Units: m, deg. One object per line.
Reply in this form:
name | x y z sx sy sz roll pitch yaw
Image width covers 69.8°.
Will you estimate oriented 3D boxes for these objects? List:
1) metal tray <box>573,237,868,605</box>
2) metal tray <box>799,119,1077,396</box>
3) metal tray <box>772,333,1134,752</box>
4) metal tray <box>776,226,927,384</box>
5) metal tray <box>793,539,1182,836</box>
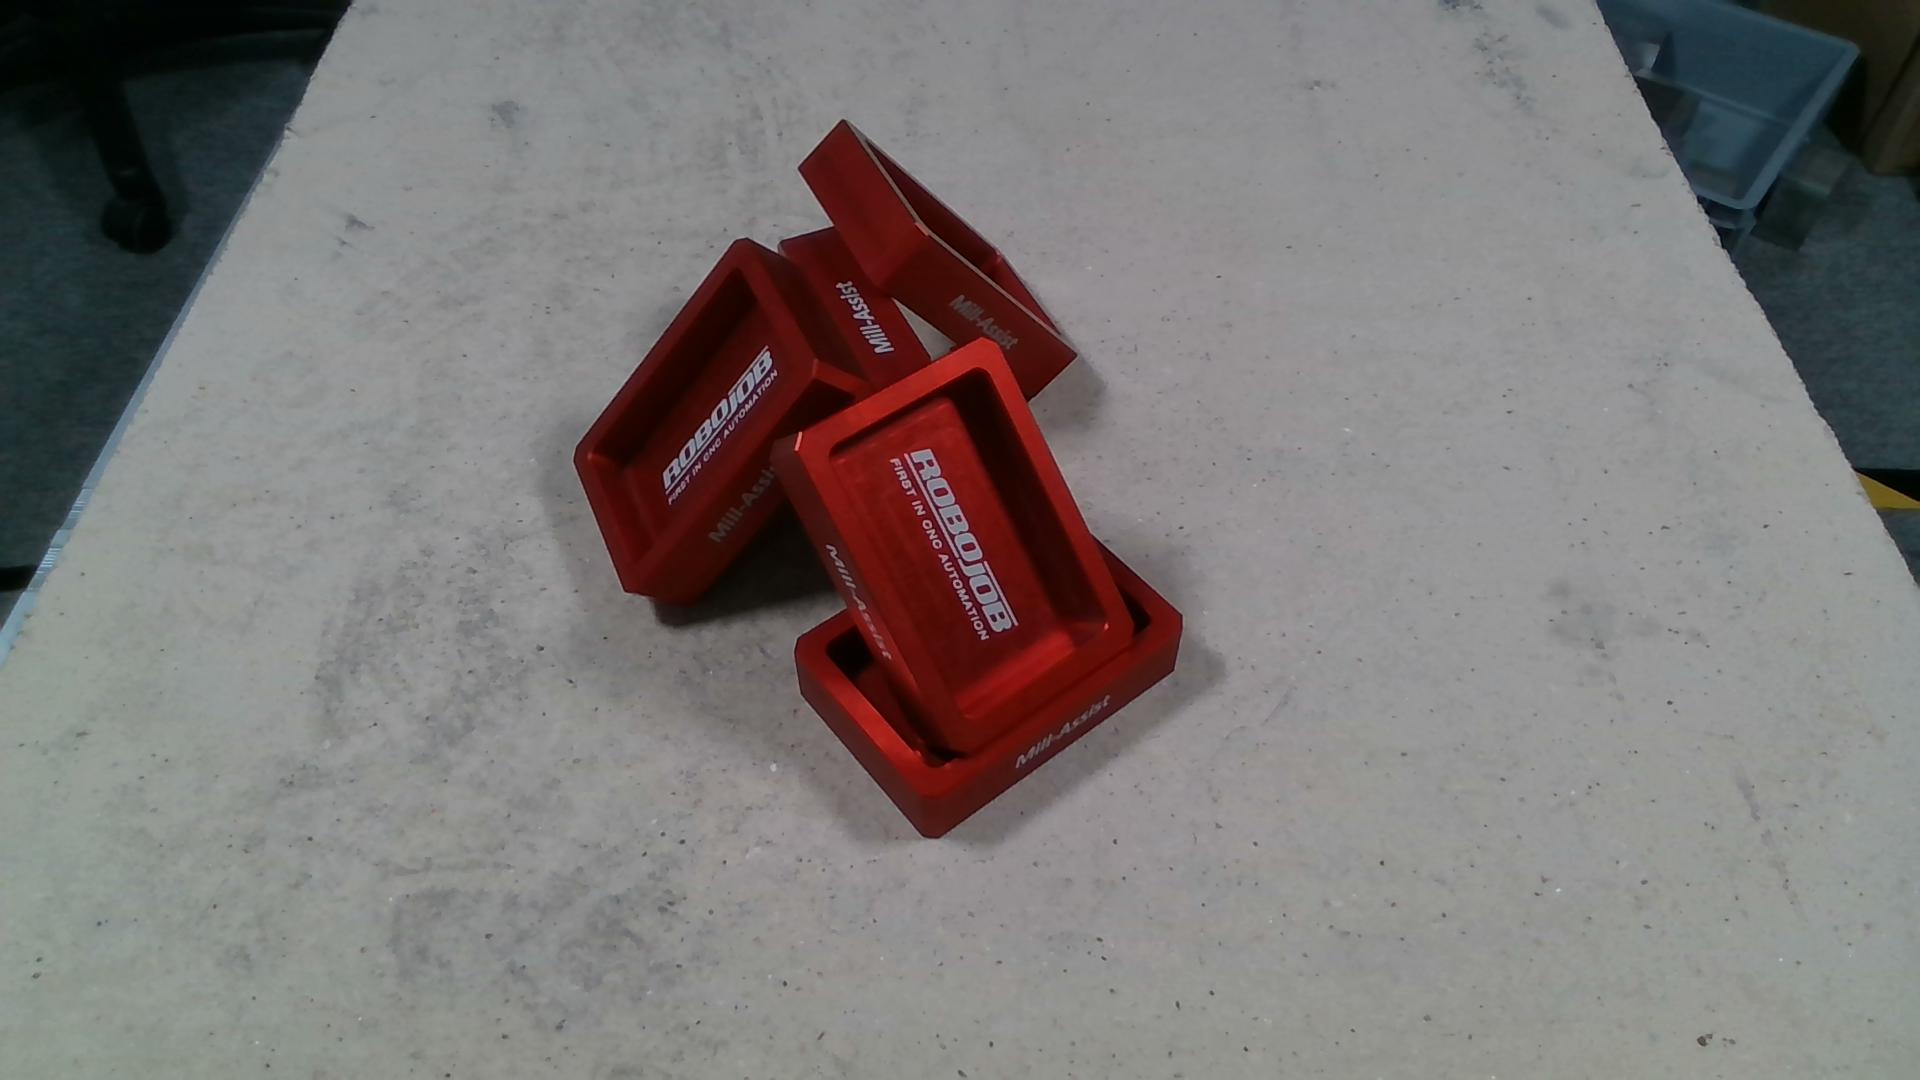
metal tray | -0.103 -0.048 0.571 0.130 0.030 0.090 -47 51 20
metal tray | -0.008 -0.127 0.632 0.030 0.130 0.090 -42 53 16
metal tray | -0.001 0.001 0.514 0.090 0.030 0.130 -31 101 -23
metal tray | -0.040 -0.063 0.597 0.030 0.090 0.130 -20 53 -16
metal tray | 0.011 0.045 0.546 0.130 0.030 0.090 -31 57 -23
